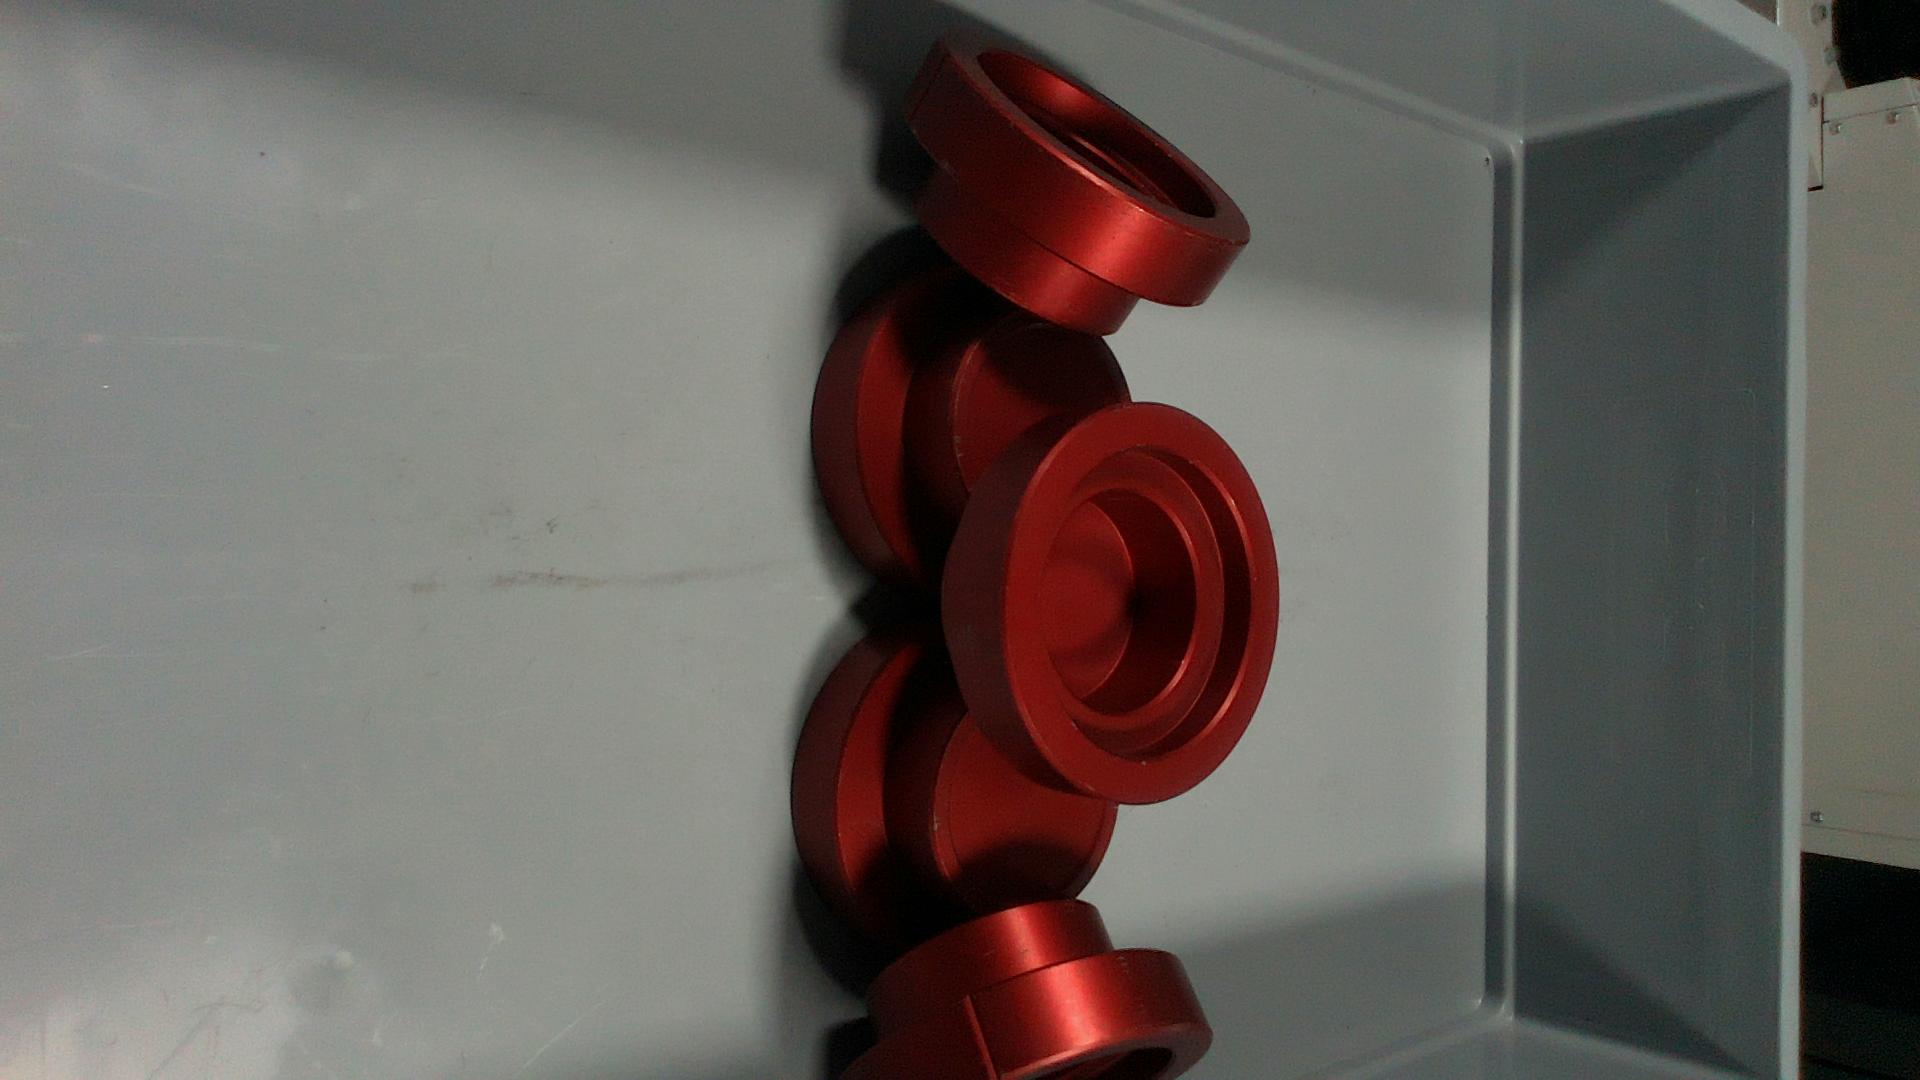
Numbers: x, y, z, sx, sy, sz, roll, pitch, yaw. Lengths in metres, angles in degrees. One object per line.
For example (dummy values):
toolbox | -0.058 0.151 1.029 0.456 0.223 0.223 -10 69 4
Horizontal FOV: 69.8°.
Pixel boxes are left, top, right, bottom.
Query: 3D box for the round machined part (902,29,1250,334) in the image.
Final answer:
round machined part | 0.027 -0.093 0.375 0.098 0.098 0.042 9 127 -39

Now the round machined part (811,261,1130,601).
round machined part | 0.011 -0.030 0.385 0.098 0.042 0.098 0 90 -40

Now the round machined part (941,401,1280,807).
round machined part | 0.034 0.015 0.349 0.098 0.042 0.098 0 90 -40

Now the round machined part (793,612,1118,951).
round machined part | 0.006 0.068 0.381 0.098 0.042 0.098 0 90 -40

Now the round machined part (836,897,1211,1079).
round machined part | 0.013 0.129 0.364 0.098 0.098 0.042 8 47 -39
